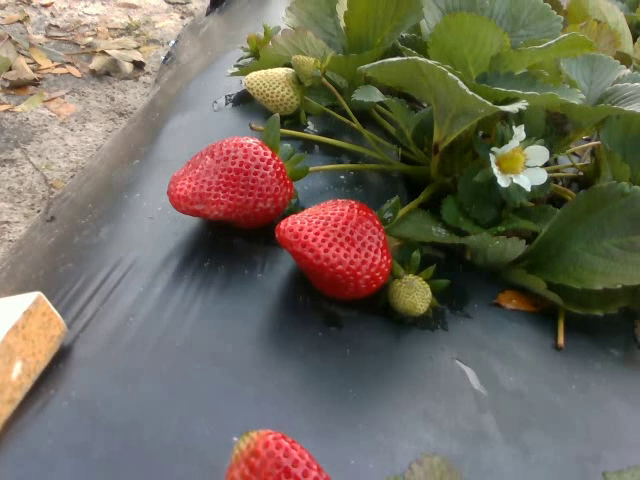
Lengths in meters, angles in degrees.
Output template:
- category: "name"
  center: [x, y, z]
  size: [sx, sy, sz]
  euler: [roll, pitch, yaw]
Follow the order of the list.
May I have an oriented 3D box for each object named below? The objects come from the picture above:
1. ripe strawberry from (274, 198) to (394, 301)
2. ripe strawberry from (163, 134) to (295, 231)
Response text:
- category: "ripe strawberry"
  center: [0.002, 0.000, 0.268]
  size: [0.050, 0.051, 0.059]
  euler: [-3, -13, 44]
- category: "ripe strawberry"
  center: [-0.049, -0.027, 0.300]
  size: [0.065, 0.044, 0.058]
  euler: [-27, 19, -38]
